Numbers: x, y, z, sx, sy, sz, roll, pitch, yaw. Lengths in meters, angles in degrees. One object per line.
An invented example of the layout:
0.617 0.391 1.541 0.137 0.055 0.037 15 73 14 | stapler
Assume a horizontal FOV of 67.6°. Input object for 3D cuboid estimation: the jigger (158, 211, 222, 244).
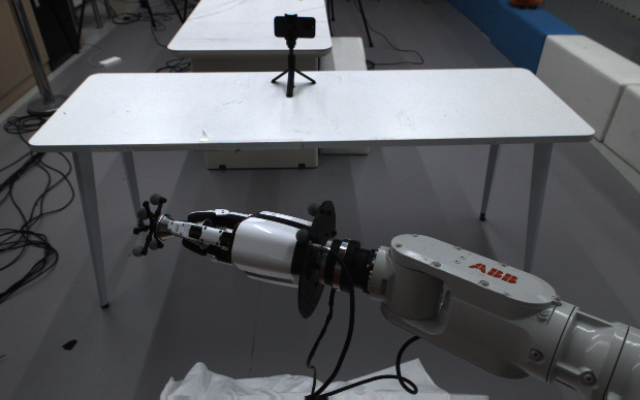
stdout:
-0.187 0.042 0.692 0.071 0.043 0.043 8 35 13 | jigger
